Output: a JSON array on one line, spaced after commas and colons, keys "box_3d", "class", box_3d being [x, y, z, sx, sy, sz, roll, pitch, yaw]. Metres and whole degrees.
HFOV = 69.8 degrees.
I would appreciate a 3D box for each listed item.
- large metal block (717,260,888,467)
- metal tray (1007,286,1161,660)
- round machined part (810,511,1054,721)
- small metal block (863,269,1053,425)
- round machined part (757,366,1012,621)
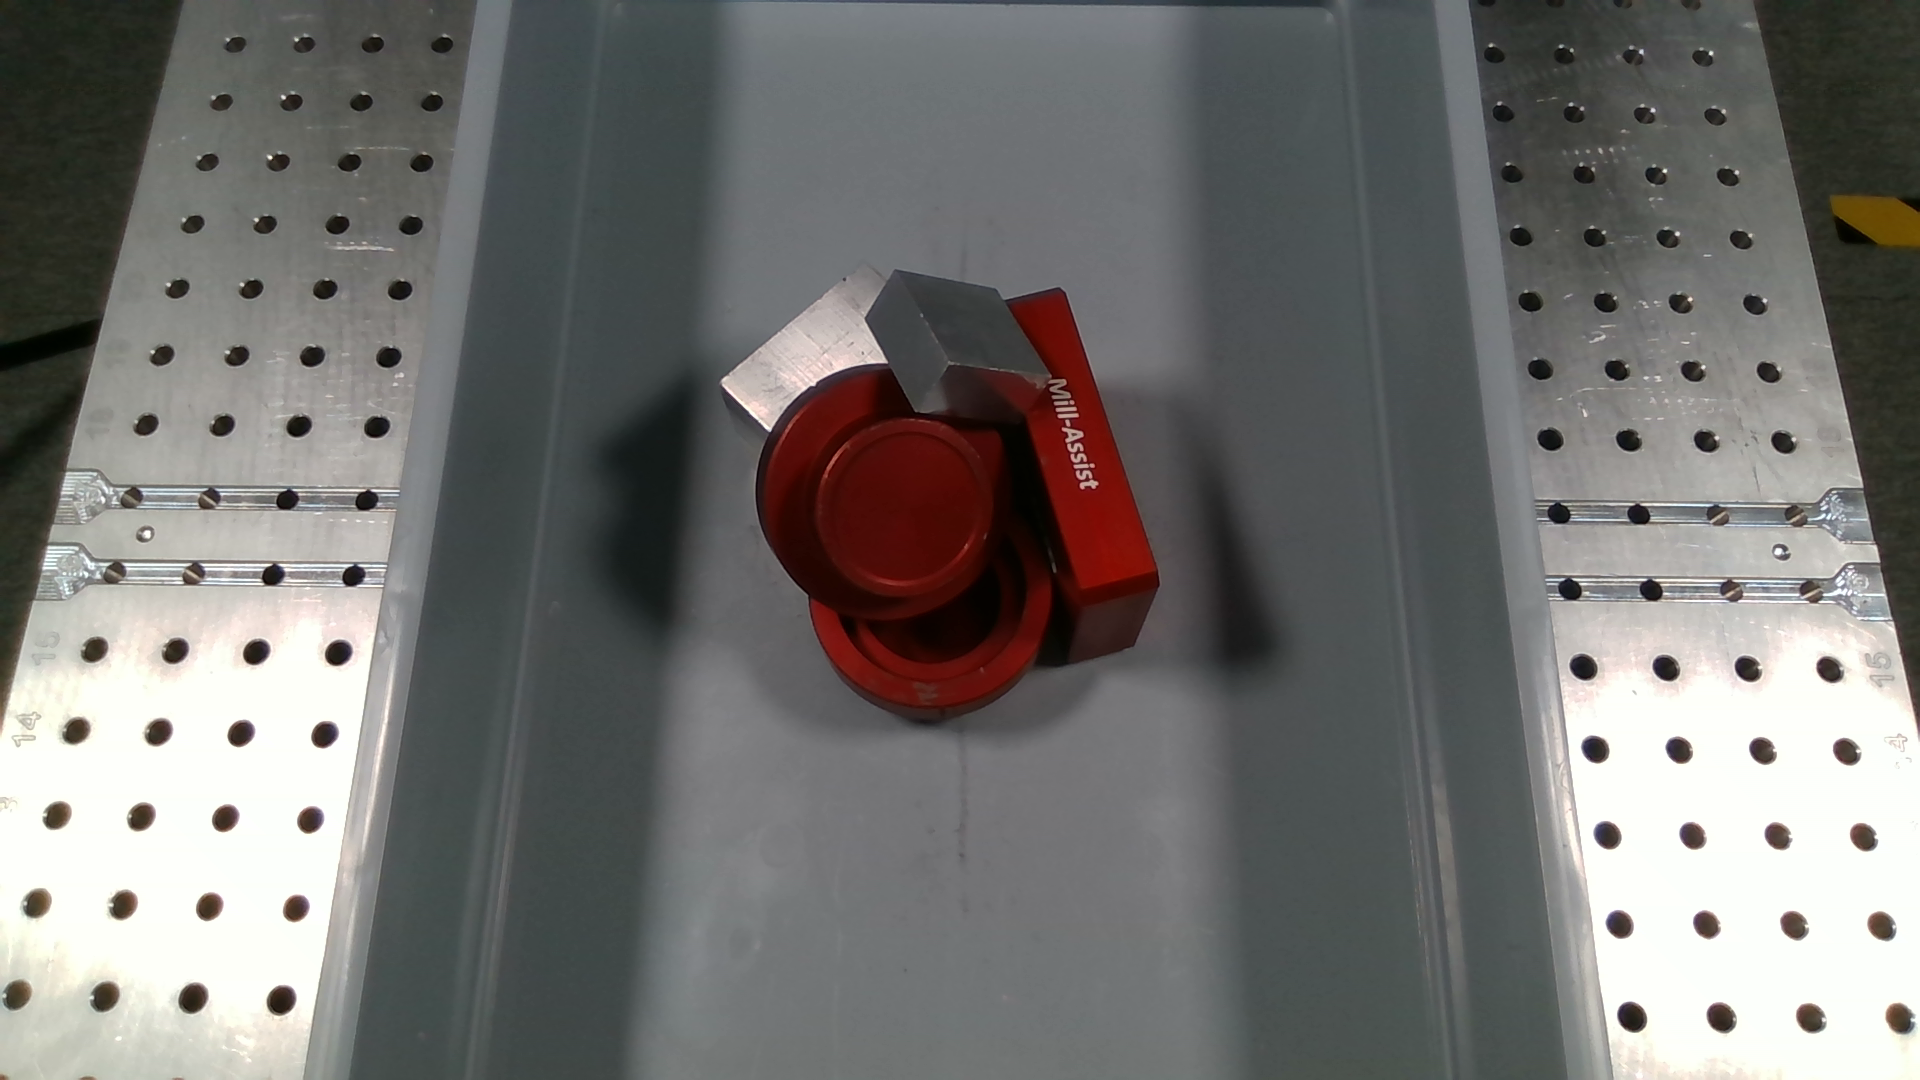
[{"box_3d": [-0.049, -0.057, 0.578, 0.080, 0.080, 0.050, -42, 75, -14], "class": "large metal block"}, {"box_3d": [0.043, -0.025, 0.561, 0.030, 0.090, 0.130, -14, 71, -5], "class": "metal tray"}, {"box_3d": [-0.011, 0.027, 0.569, 0.098, 0.042, 0.098, 0, 70, 0], "class": "round machined part"}, {"box_3d": [-0.001, -0.072, 0.514, 0.050, 0.025, 0.050, 1, 49, -40], "class": "small metal block"}, {"box_3d": [-0.026, -0.016, 0.522, 0.098, 0.042, 0.098, -5, 106, -17], "class": "round machined part"}]
